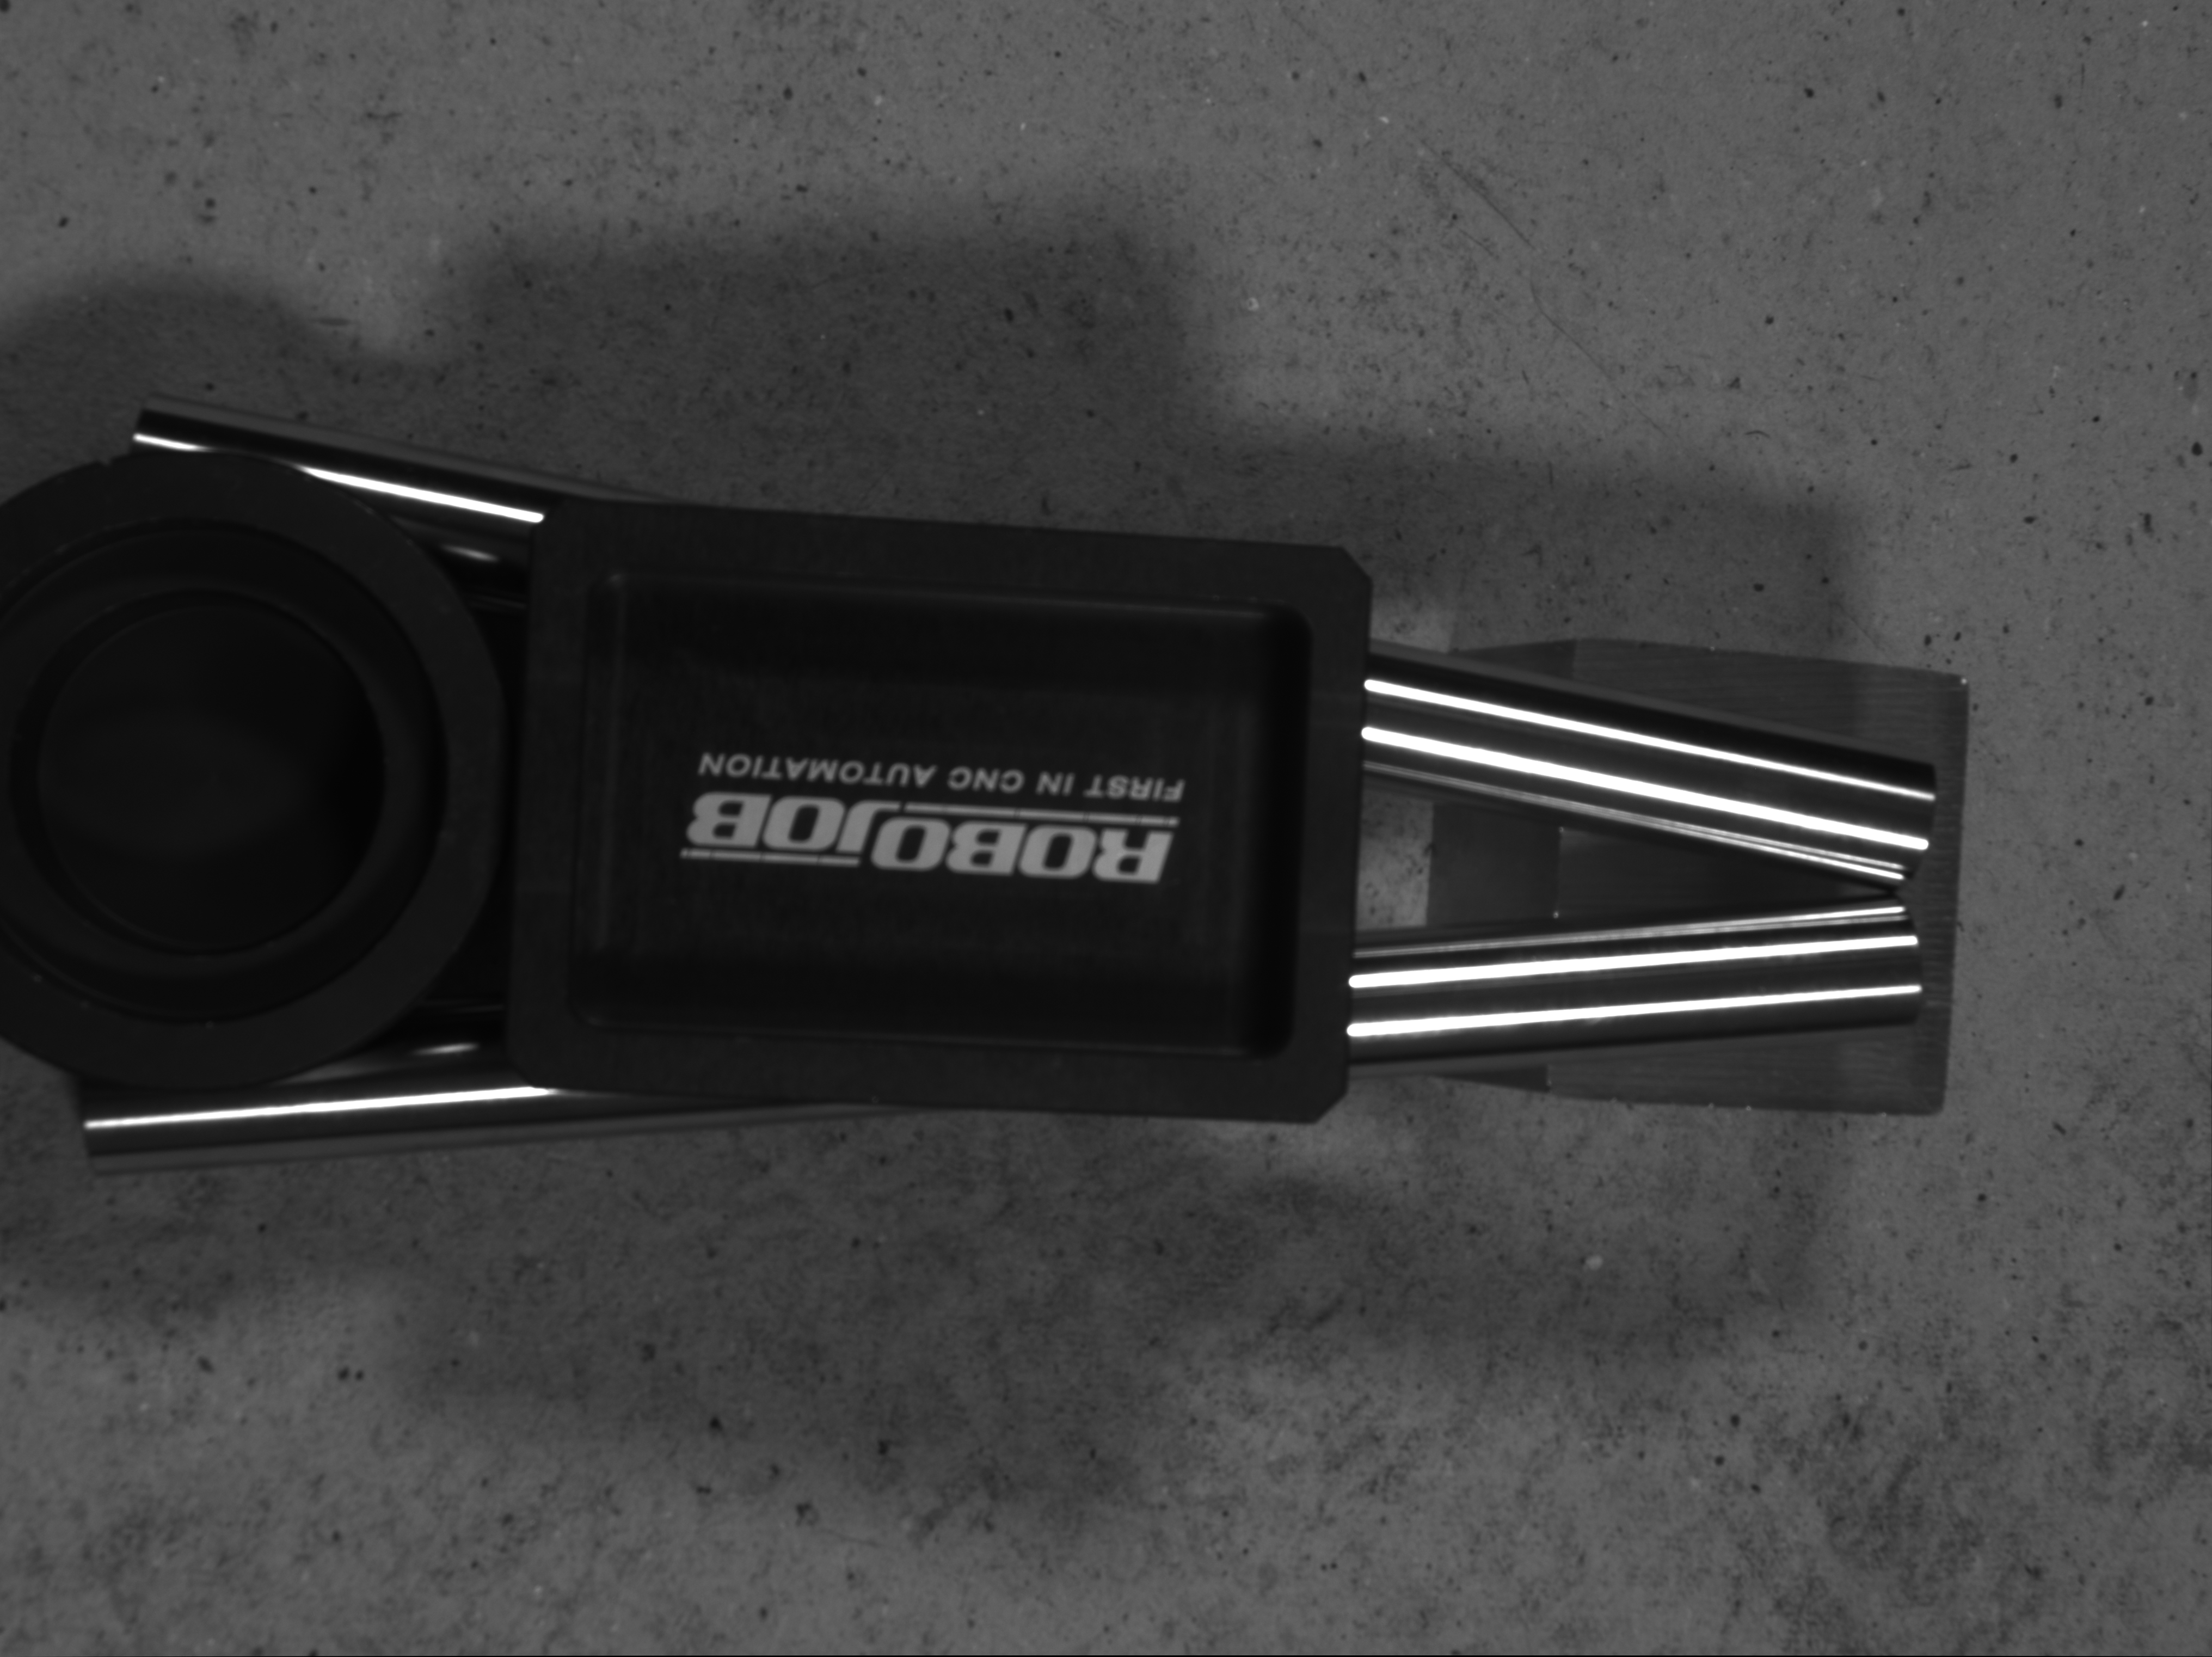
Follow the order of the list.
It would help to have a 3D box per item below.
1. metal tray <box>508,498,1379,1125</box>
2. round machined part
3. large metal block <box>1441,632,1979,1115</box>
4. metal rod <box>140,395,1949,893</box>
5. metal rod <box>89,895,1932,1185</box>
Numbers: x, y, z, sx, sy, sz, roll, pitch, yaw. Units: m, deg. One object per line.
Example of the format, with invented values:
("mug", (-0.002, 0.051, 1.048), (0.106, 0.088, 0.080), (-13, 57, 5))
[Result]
("metal tray", (-0.026, -0.002, 0.576), (0.130, 0.030, 0.090), (3, 89, -7))
("round machined part", (-0.141, -0.009, 0.577), (0.098, 0.042, 0.098), (0, 89, -9))
("large metal block", (0.109, 0.009, 0.668), (0.080, 0.050, 0.080), (4, 89, -20))
("metal rod", (-0.008, -0.029, 0.606), (0.300, 0.025, 0.025), (11, 86, -7))
("metal rod", (-0.012, 0.034, 0.605), (0.300, 0.025, 0.025), (-4, 91, -7))
